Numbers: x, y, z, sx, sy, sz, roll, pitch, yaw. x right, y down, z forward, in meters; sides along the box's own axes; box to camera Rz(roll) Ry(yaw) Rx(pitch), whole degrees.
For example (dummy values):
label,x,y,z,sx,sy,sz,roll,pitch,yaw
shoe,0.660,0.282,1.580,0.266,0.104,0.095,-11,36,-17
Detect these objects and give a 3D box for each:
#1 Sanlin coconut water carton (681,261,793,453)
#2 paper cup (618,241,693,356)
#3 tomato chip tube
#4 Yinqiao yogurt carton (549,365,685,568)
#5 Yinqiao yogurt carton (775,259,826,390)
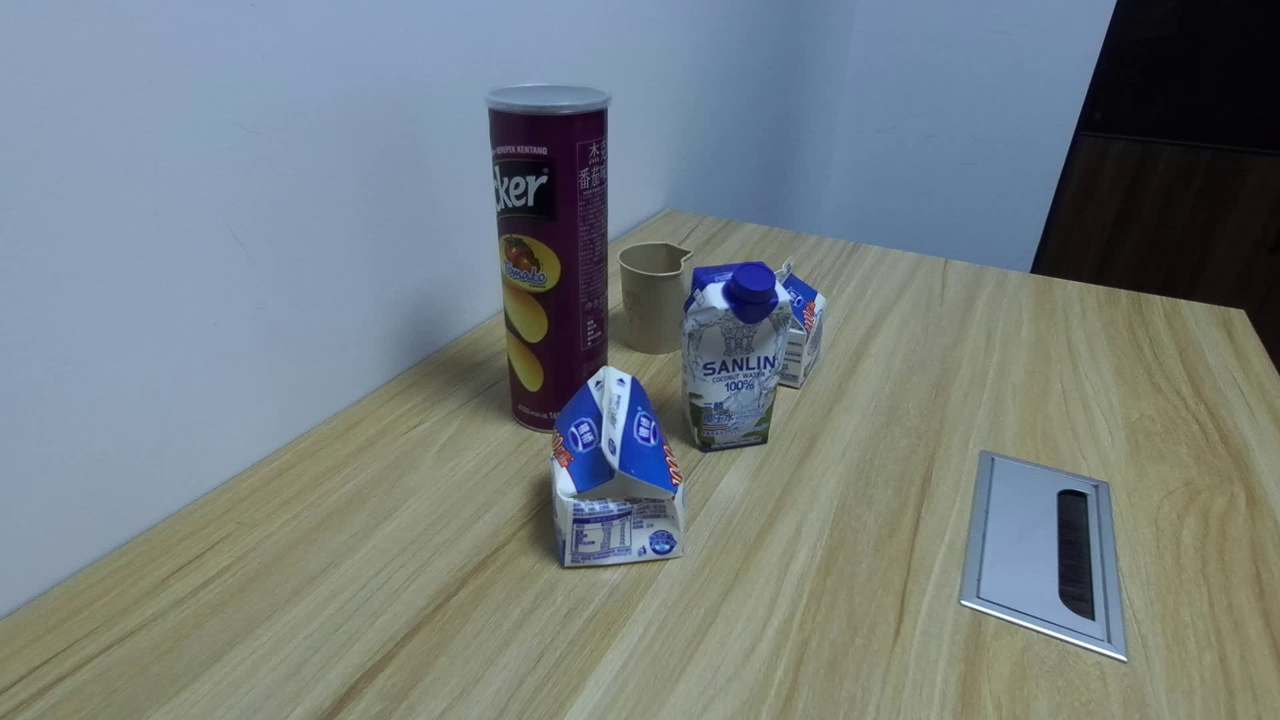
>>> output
label,x,y,z,sx,sy,sz,roll,pitch,yaw
Sanlin coconut water carton,0.065,-0.006,0.493,0.078,0.142,0.057,-7,36,-14
paper cup,0.014,-0.053,0.632,0.069,0.081,0.073,-21,33,-33
tomato chip tube,-0.059,-0.065,0.500,0.078,0.234,0.078,1,30,0
Yinqiao yogurt carton,-0.015,0.059,0.424,0.077,0.093,0.083,-3,31,-8
Yinqiao yogurt carton,0.116,-0.037,0.600,0.073,0.092,0.076,12,29,23
